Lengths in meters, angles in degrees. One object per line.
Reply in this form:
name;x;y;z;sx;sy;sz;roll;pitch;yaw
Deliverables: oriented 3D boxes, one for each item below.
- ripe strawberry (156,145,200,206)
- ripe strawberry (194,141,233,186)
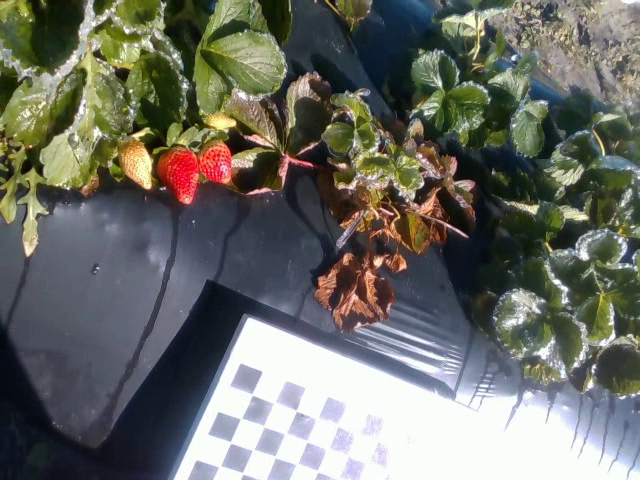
ripe strawberry;-0.113;-0.048;0.519;0.036;0.052;0.040;-15;-25;-18
ripe strawberry;-0.088;-0.066;0.545;0.036;0.041;0.030;-39;13;-11
